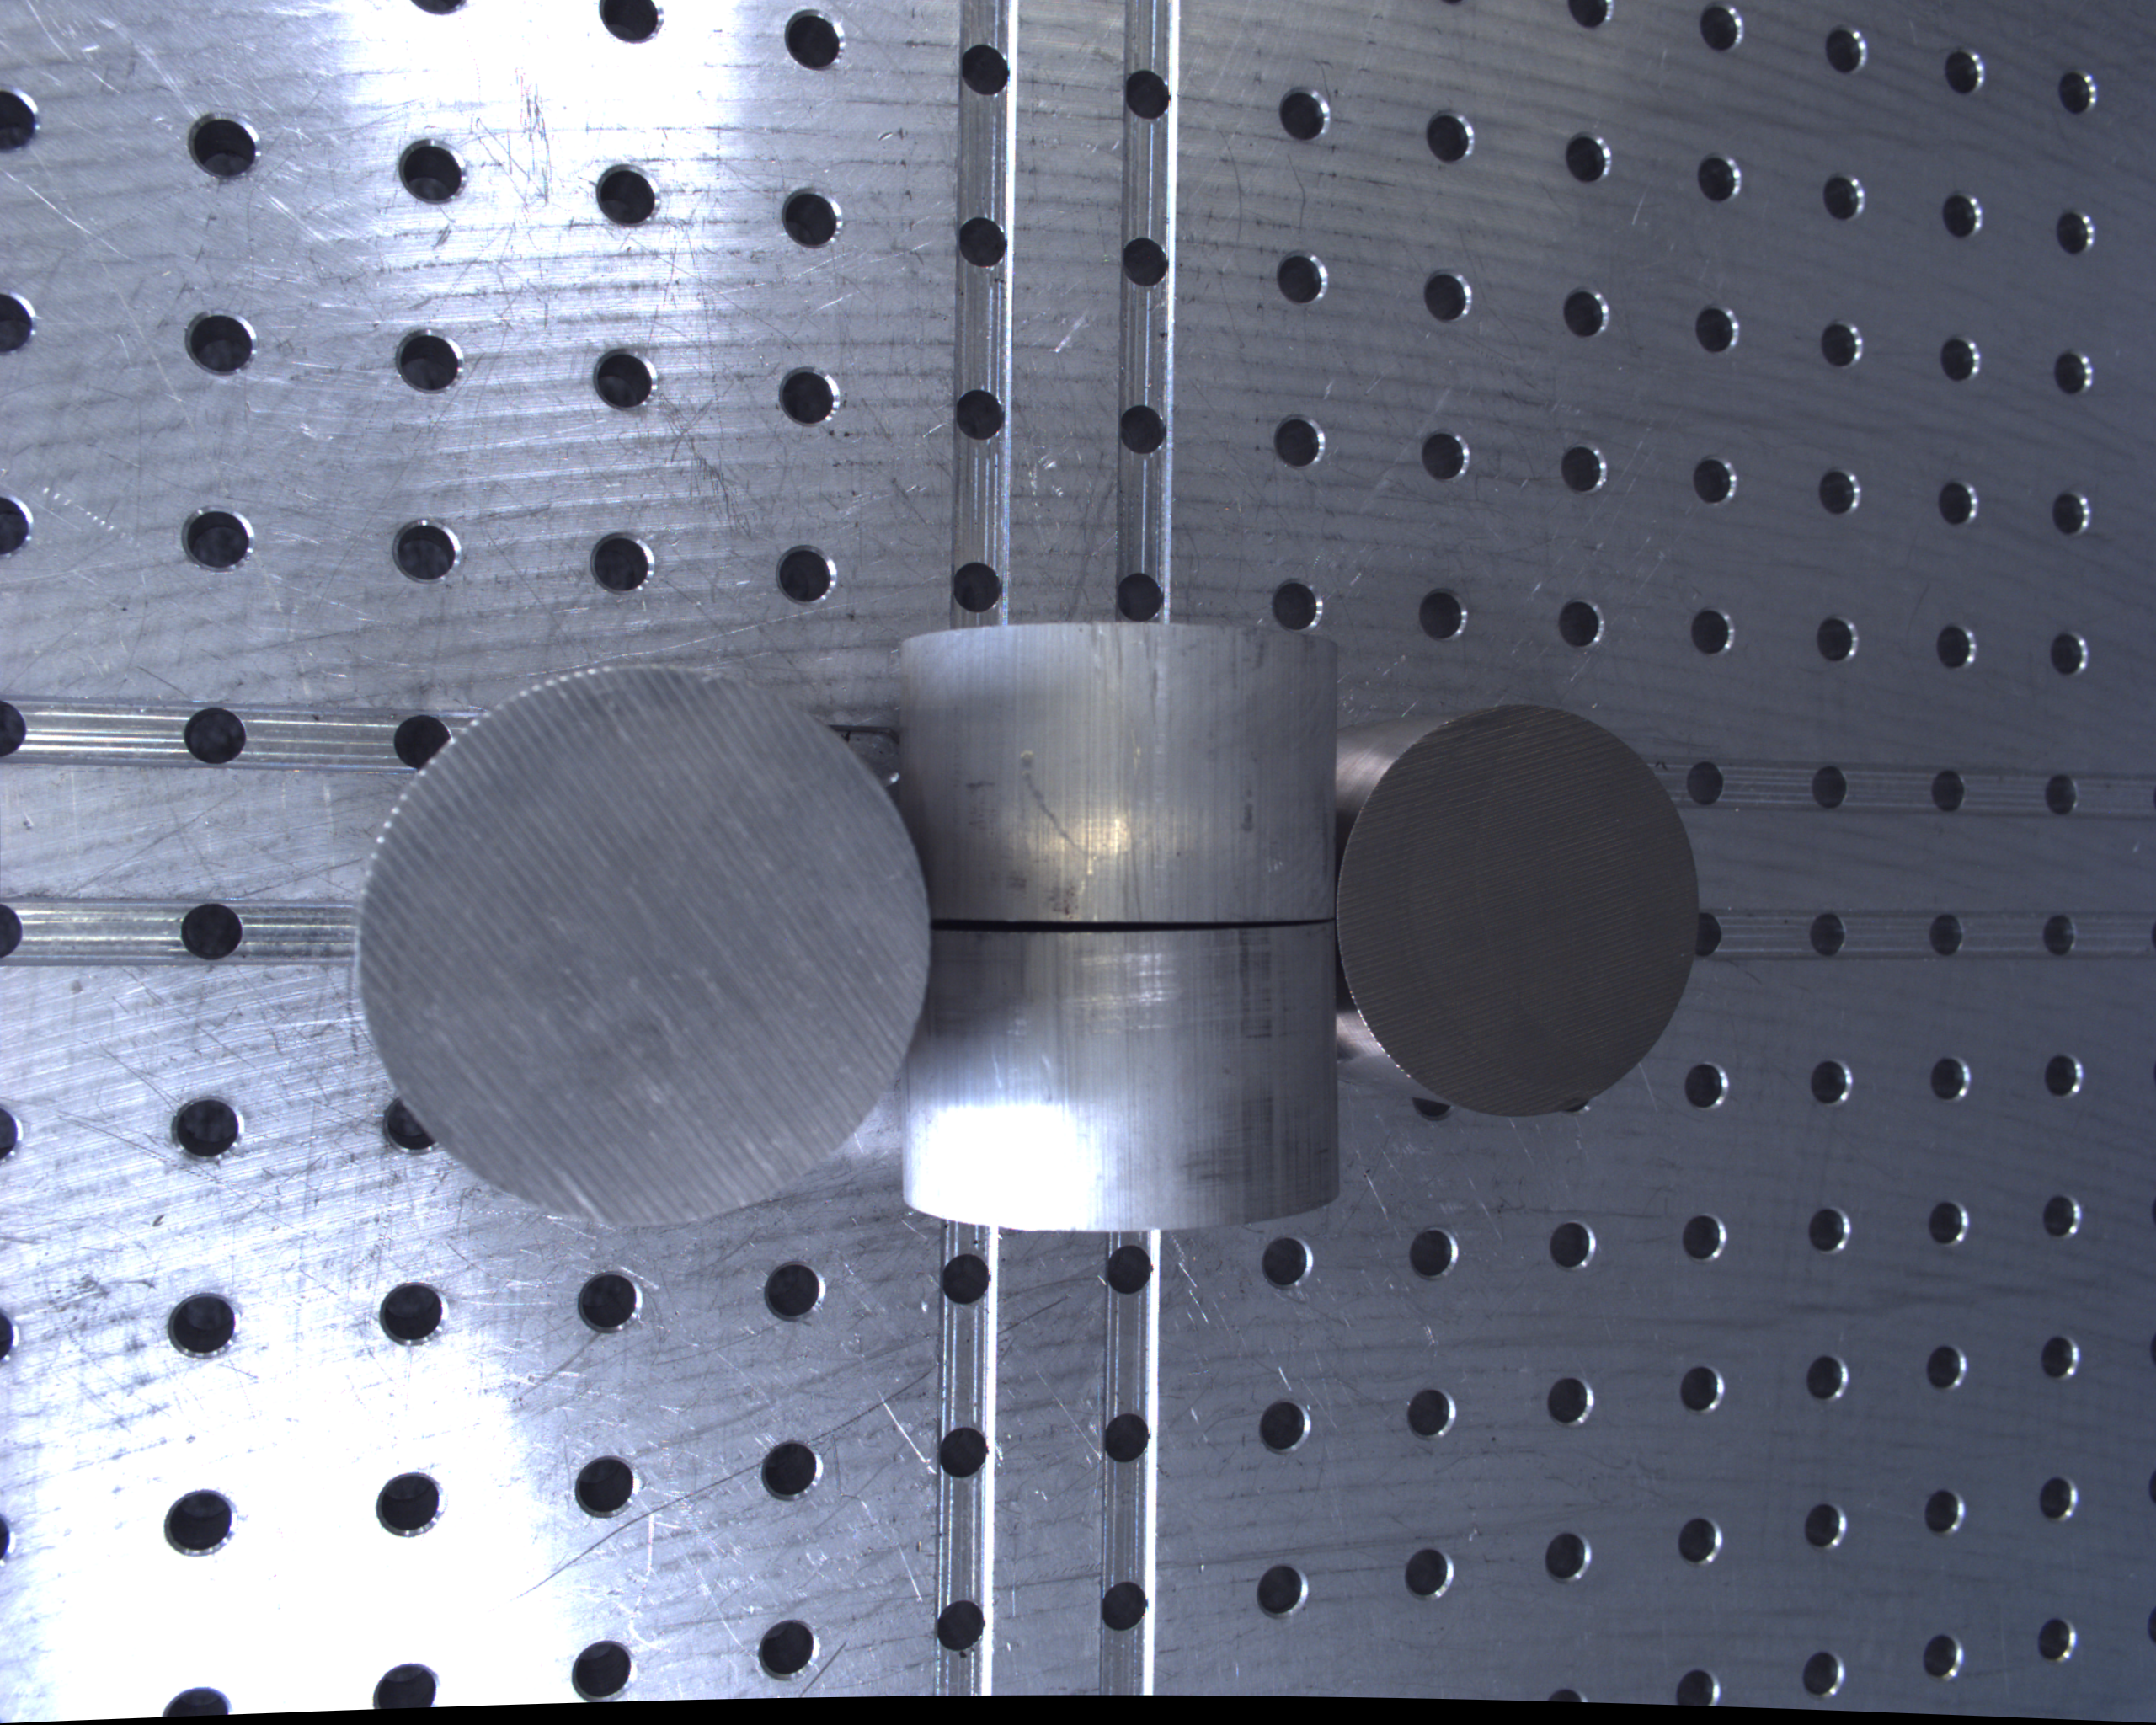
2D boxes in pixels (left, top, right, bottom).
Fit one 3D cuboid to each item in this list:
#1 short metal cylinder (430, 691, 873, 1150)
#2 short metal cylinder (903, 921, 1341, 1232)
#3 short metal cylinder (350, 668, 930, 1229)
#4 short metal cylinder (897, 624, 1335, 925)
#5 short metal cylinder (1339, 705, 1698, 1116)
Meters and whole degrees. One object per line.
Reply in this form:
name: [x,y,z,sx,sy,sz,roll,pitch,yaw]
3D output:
short metal cylinder: [-0.074,0.008,0.372,0.081,0.050,0.079,0,90,-20]
short metal cylinder: [0.008,0.036,0.386,0.081,0.080,0.050,-1,91,-20]
short metal cylinder: [-0.068,0.012,0.319,0.081,0.050,0.079,0,90,-20]
short metal cylinder: [0.007,-0.015,0.386,0.081,0.080,0.050,1,91,-20]
short metal cylinder: [0.078,0.009,0.427,0.081,0.050,0.079,0,90,-20]
